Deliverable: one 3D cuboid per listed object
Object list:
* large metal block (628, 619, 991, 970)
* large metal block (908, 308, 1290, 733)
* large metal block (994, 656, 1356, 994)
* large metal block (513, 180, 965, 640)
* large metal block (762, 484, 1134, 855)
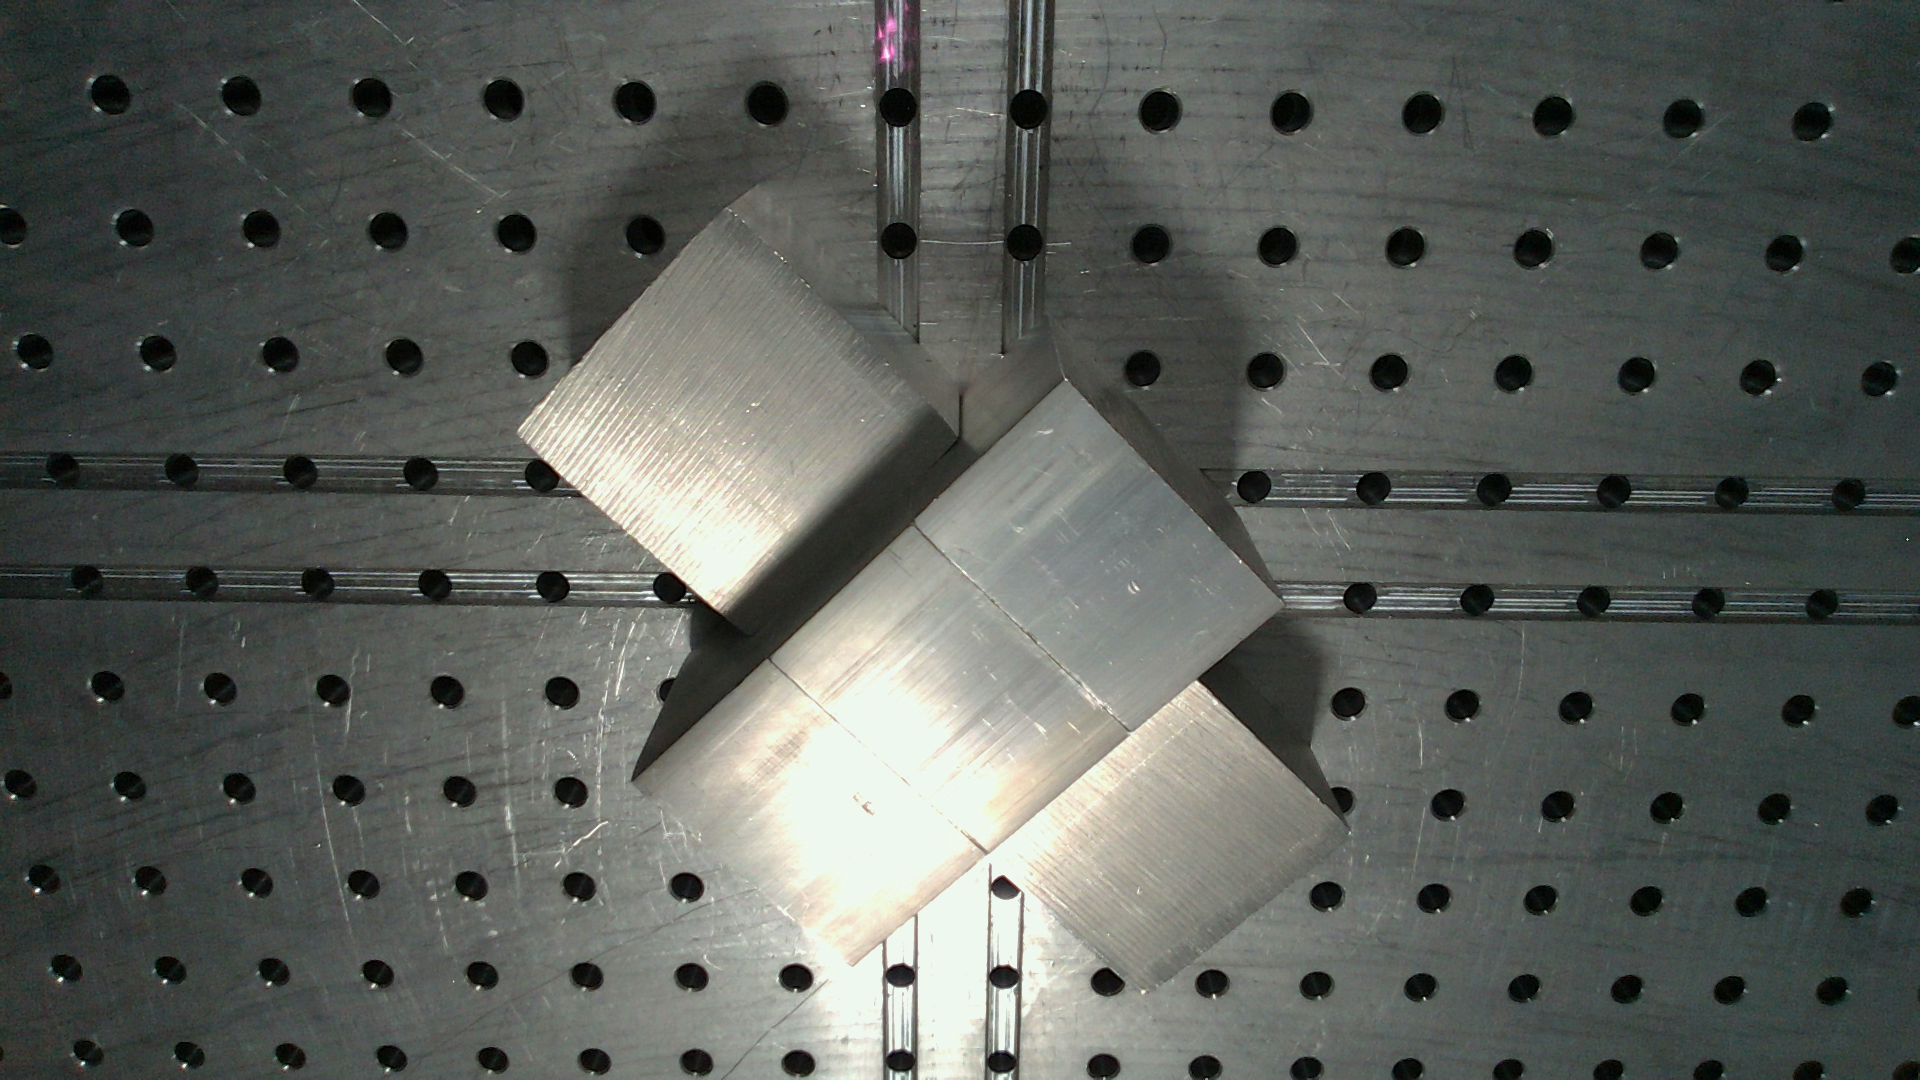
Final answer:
[{"bbox_3d":[-0.038,0.058,0.389,0.050,0.080,0.080,-42,105,14],"label":"large metal block"},{"bbox_3d":[0.034,-0.009,0.365,0.050,0.080,0.080,-42,105,14],"label":"large metal block"},{"bbox_3d":[0.055,0.073,0.410,0.080,0.050,0.080,-42,105,15],"label":"large metal block"},{"bbox_3d":[-0.055,-0.035,0.367,0.080,0.050,0.080,43,106,-14],"label":"large metal block"},{"bbox_3d":[-0.002,0.024,0.377,0.050,0.080,0.080,-42,105,14],"label":"large metal block"}]
